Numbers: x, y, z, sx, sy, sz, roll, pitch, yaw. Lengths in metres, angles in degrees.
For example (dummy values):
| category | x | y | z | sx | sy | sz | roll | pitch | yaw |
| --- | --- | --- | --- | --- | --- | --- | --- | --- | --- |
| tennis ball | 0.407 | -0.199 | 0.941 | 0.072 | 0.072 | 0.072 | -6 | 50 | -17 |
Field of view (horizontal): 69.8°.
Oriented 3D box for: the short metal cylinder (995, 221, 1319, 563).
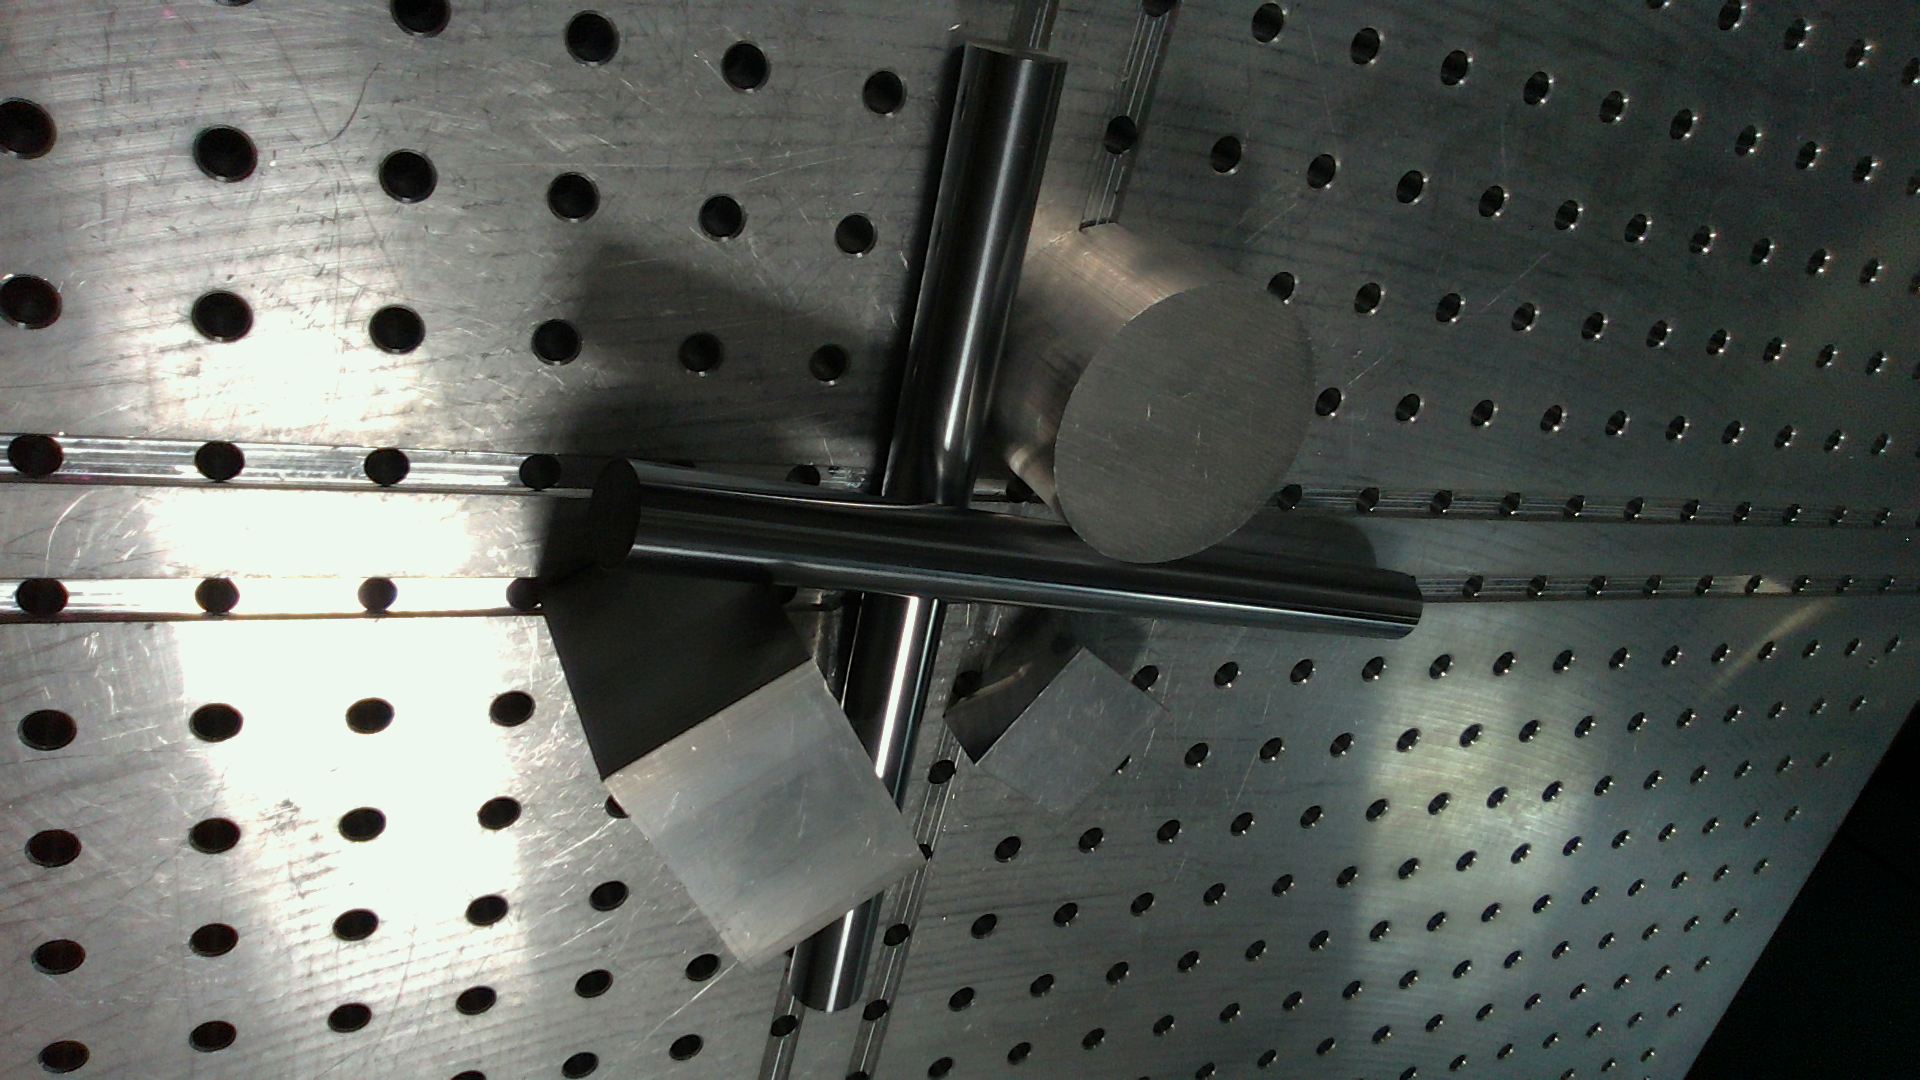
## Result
| category | x | y | z | sx | sy | sz | roll | pitch | yaw |
| --- | --- | --- | --- | --- | --- | --- | --- | --- | --- |
| short metal cylinder | 0.050 | -0.041 | 0.378 | 0.080 | 0.050 | 0.080 | -14 | 124 | -21 |

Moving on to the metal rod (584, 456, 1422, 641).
| category | x | y | z | sx | sy | sz | roll | pitch | yaw |
| --- | --- | --- | --- | --- | --- | --- | --- | --- | --- |
| metal rod | 0.039 | 0.009 | 0.394 | 0.301 | 0.025 | 0.025 | 7 | 115 | -40 |

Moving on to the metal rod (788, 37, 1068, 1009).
| category | x | y | z | sx | sy | sz | roll | pitch | yaw |
| --- | --- | --- | --- | --- | --- | --- | --- | --- | --- |
| metal rod | -0.016 | 0.015 | 0.393 | 0.025 | 0.025 | 0.300 | -2 | 119 | -27 |

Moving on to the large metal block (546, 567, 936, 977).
| category | x | y | z | sx | sy | sz | roll | pitch | yaw |
| --- | --- | --- | --- | --- | --- | --- | --- | --- | --- |
| large metal block | -0.057 | 0.049 | 0.355 | 0.050 | 0.080 | 0.080 | -31 | 128 | -8 |

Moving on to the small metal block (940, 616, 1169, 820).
| category | x | y | z | sx | sy | sz | roll | pitch | yaw |
| --- | --- | --- | --- | --- | --- | --- | --- | --- | --- |
| small metal block | 0.031 | 0.056 | 0.444 | 0.050 | 0.025 | 0.050 | -48 | 129 | 5 |
